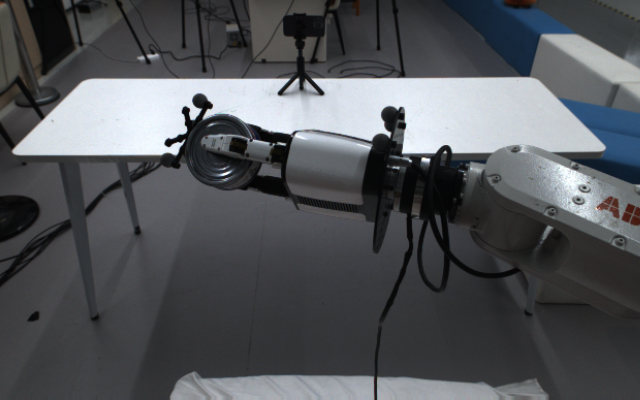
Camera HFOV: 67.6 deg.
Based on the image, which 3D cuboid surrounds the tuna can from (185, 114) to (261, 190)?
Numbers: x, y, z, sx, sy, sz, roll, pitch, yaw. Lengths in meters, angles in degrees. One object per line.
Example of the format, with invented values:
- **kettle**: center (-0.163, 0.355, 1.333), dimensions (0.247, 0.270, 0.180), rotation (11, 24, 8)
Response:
- **tuna can**: center (-0.108, -0.052, 0.559), dimensions (0.085, 0.085, 0.034), rotation (9, -4, 10)
